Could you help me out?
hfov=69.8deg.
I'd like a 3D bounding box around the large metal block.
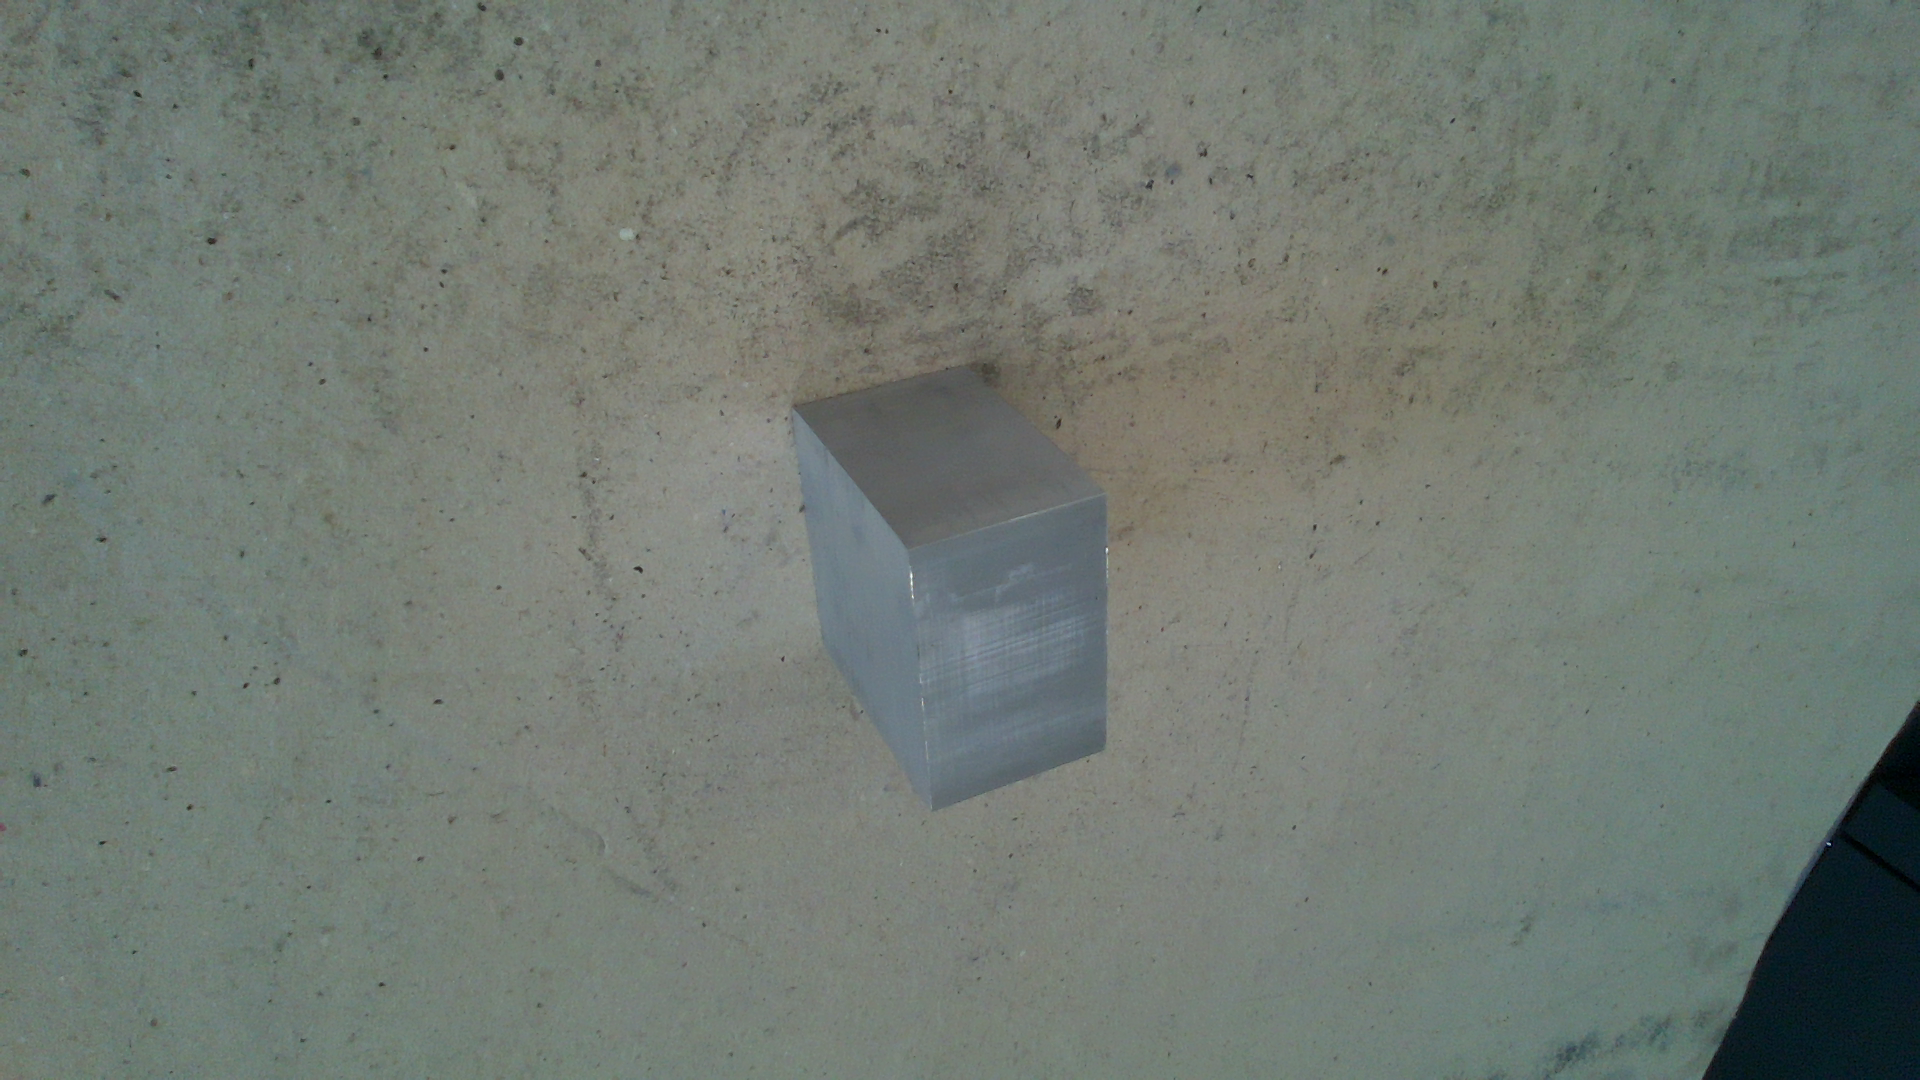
[{"bbox_3d":[-0.003,0.011,0.358,0.050,0.080,0.080,-16,125,-19],"label":"large metal block"}]
